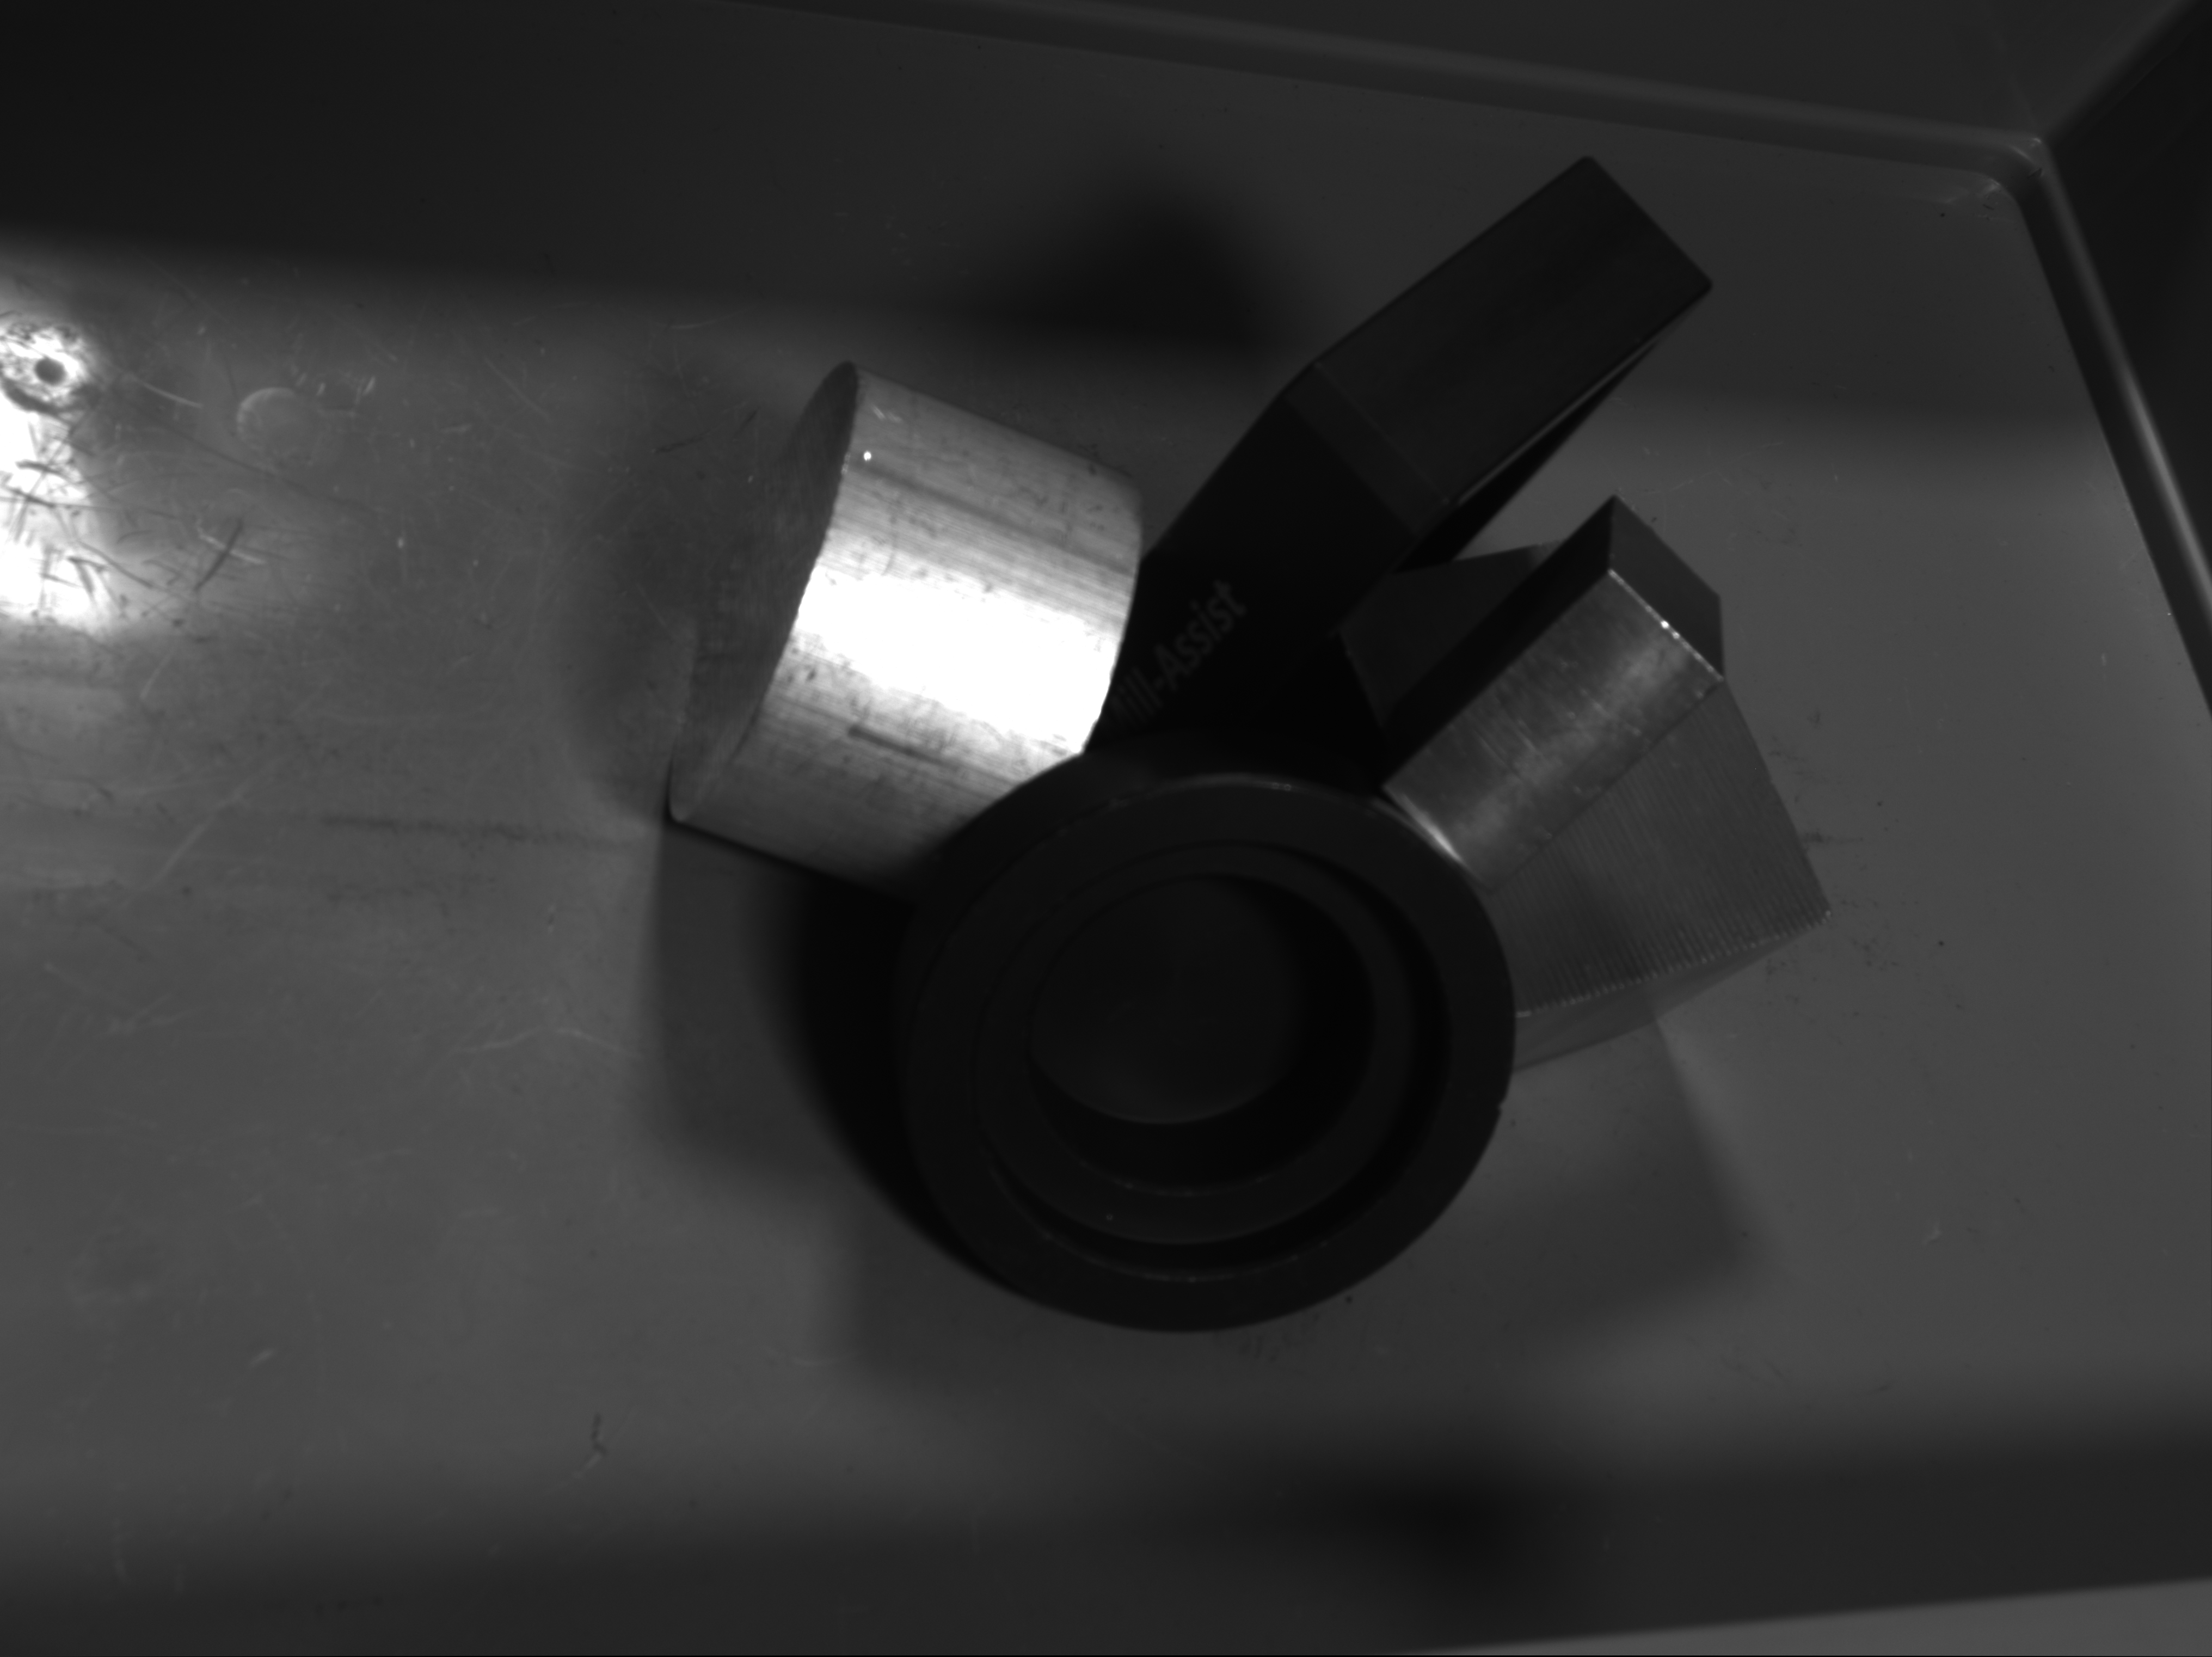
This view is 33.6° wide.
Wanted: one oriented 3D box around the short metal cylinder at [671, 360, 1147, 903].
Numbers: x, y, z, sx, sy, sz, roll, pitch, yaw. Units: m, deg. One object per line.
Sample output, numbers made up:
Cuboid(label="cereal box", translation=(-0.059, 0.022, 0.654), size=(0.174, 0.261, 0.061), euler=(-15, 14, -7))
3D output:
Cuboid(label="short metal cylinder", translation=(-0.033, -0.031, 0.604), size=(0.050, 0.080, 0.080), euler=(21, 54, -16))

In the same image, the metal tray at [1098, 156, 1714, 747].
Cuboid(label="metal tray", translation=(0.038, -0.049, 0.621), size=(0.030, 0.130, 0.090), euler=(47, 51, 3))

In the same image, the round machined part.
Cuboid(label="round machined part", translation=(0.014, 0.029, 0.593), size=(0.098, 0.098, 0.042), euler=(19, 19, -17))

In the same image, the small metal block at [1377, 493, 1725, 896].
Cuboid(label="small metal block", translation=(0.072, -0.022, 0.587), size=(0.025, 0.050, 0.050), euler=(44, 19, -7))

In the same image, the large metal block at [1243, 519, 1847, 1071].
Cuboid(label="large metal block", translation=(0.072, -0.002, 0.652), size=(0.080, 0.050, 0.080), euler=(-15, 74, -34))
